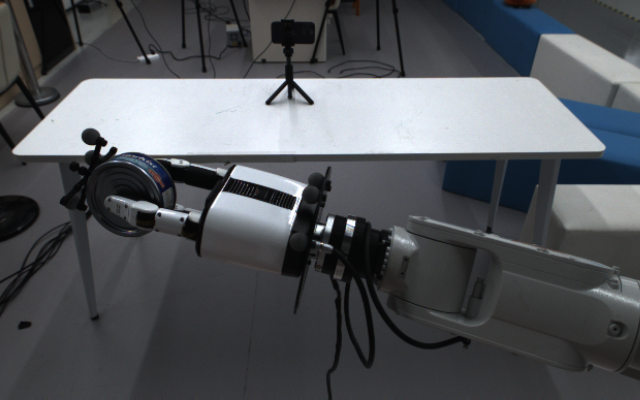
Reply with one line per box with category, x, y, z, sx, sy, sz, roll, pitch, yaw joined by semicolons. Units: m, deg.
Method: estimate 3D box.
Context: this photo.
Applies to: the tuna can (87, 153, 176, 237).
tuna can;-0.194;0.000;0.506;0.085;0.085;0.034;6;20;6
